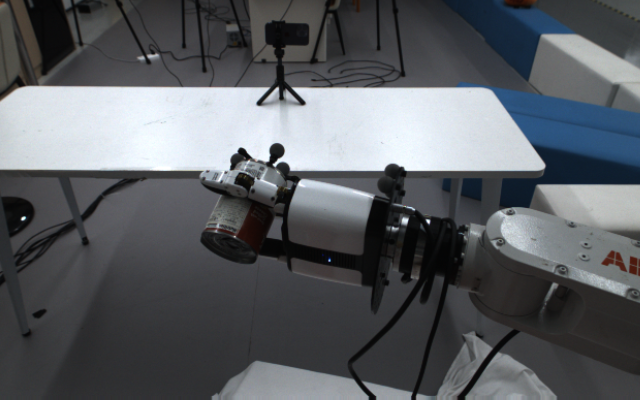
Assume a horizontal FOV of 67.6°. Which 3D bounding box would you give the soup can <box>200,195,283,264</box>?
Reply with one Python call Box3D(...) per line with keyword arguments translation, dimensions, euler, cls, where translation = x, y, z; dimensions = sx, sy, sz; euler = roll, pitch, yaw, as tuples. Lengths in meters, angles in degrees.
Box3D(translation=(-0.084, 0.011, 0.551), dimensions=(0.067, 0.067, 0.101), euler=(12, 59, 14), cls="soup can")
